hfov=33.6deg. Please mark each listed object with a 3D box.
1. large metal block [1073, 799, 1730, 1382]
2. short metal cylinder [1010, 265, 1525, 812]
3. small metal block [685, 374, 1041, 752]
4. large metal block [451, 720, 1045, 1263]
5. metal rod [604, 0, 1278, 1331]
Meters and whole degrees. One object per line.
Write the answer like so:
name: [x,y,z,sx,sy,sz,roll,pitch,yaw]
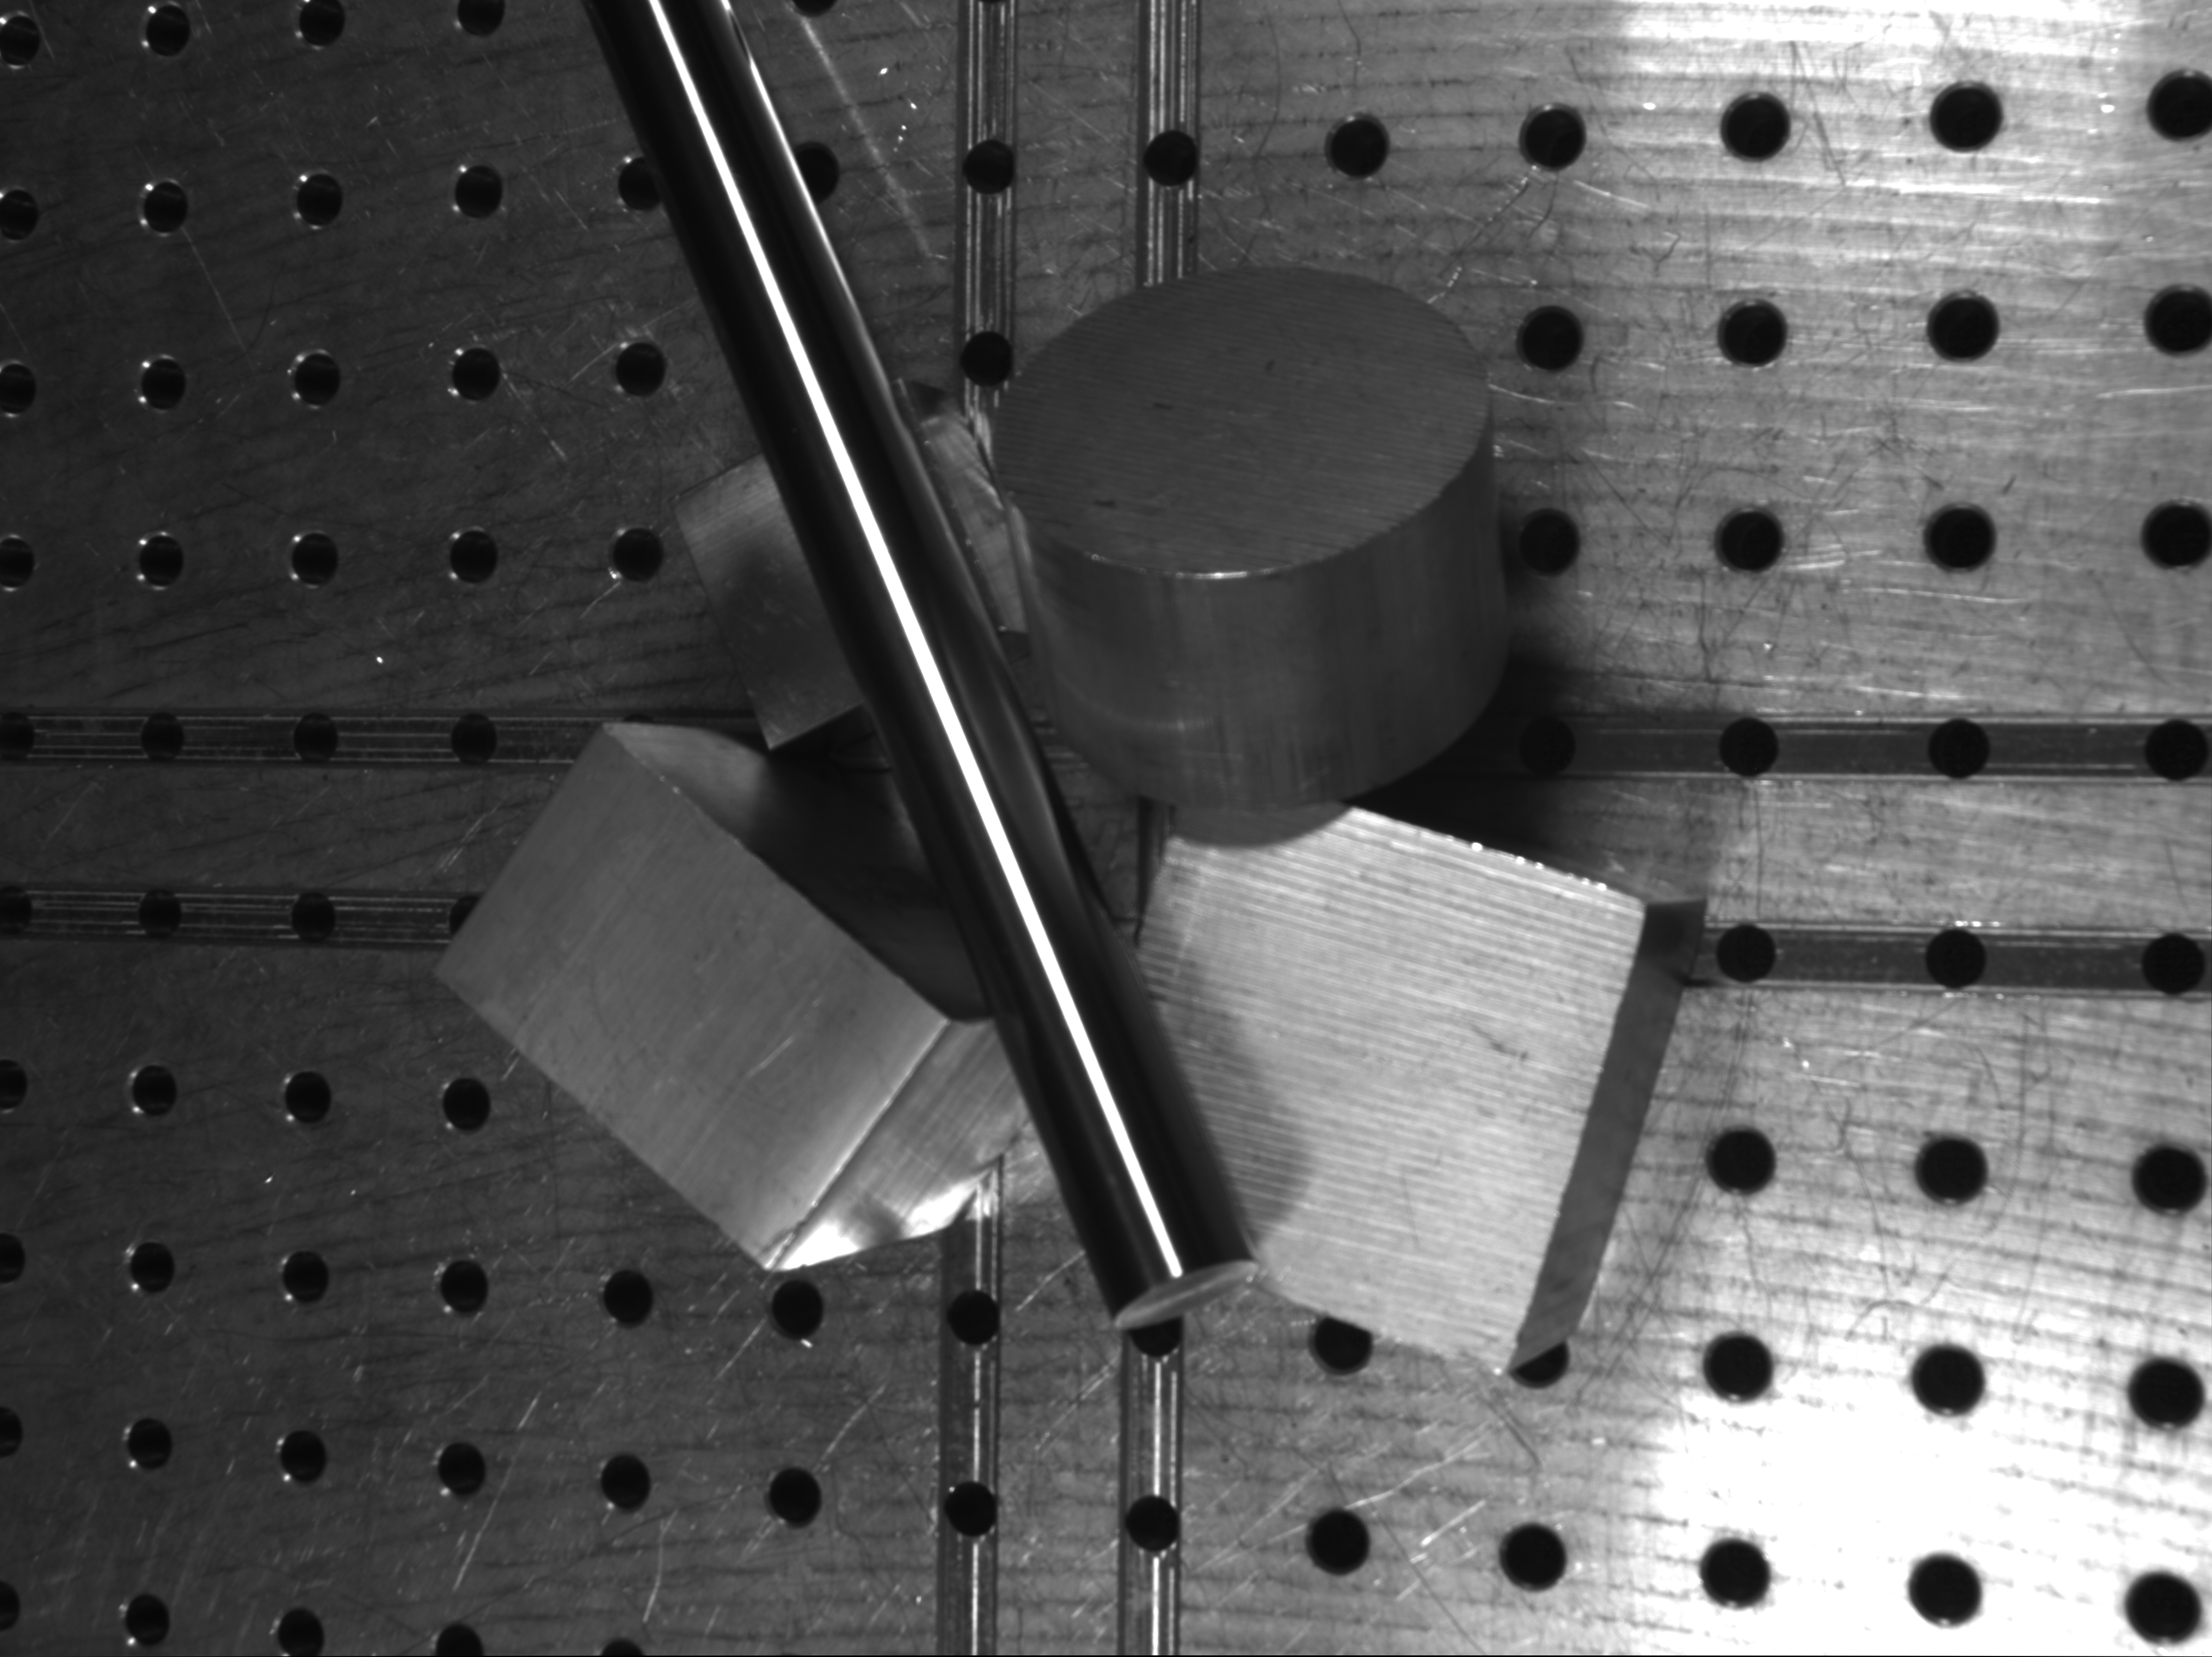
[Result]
large metal block: [0.050,0.038,0.615,0.080,0.050,0.080,18,96,19]
short metal cylinder: [0.028,-0.048,0.601,0.080,0.080,0.050,9,136,19]
small metal block: [-0.041,-0.047,0.662,0.050,0.025,0.050,-26,82,18]
large metal block: [-0.052,0.026,0.636,0.080,0.080,0.050,39,102,16]
metal rod: [-0.039,-0.056,0.629,0.025,0.025,0.300,-29,69,17]
